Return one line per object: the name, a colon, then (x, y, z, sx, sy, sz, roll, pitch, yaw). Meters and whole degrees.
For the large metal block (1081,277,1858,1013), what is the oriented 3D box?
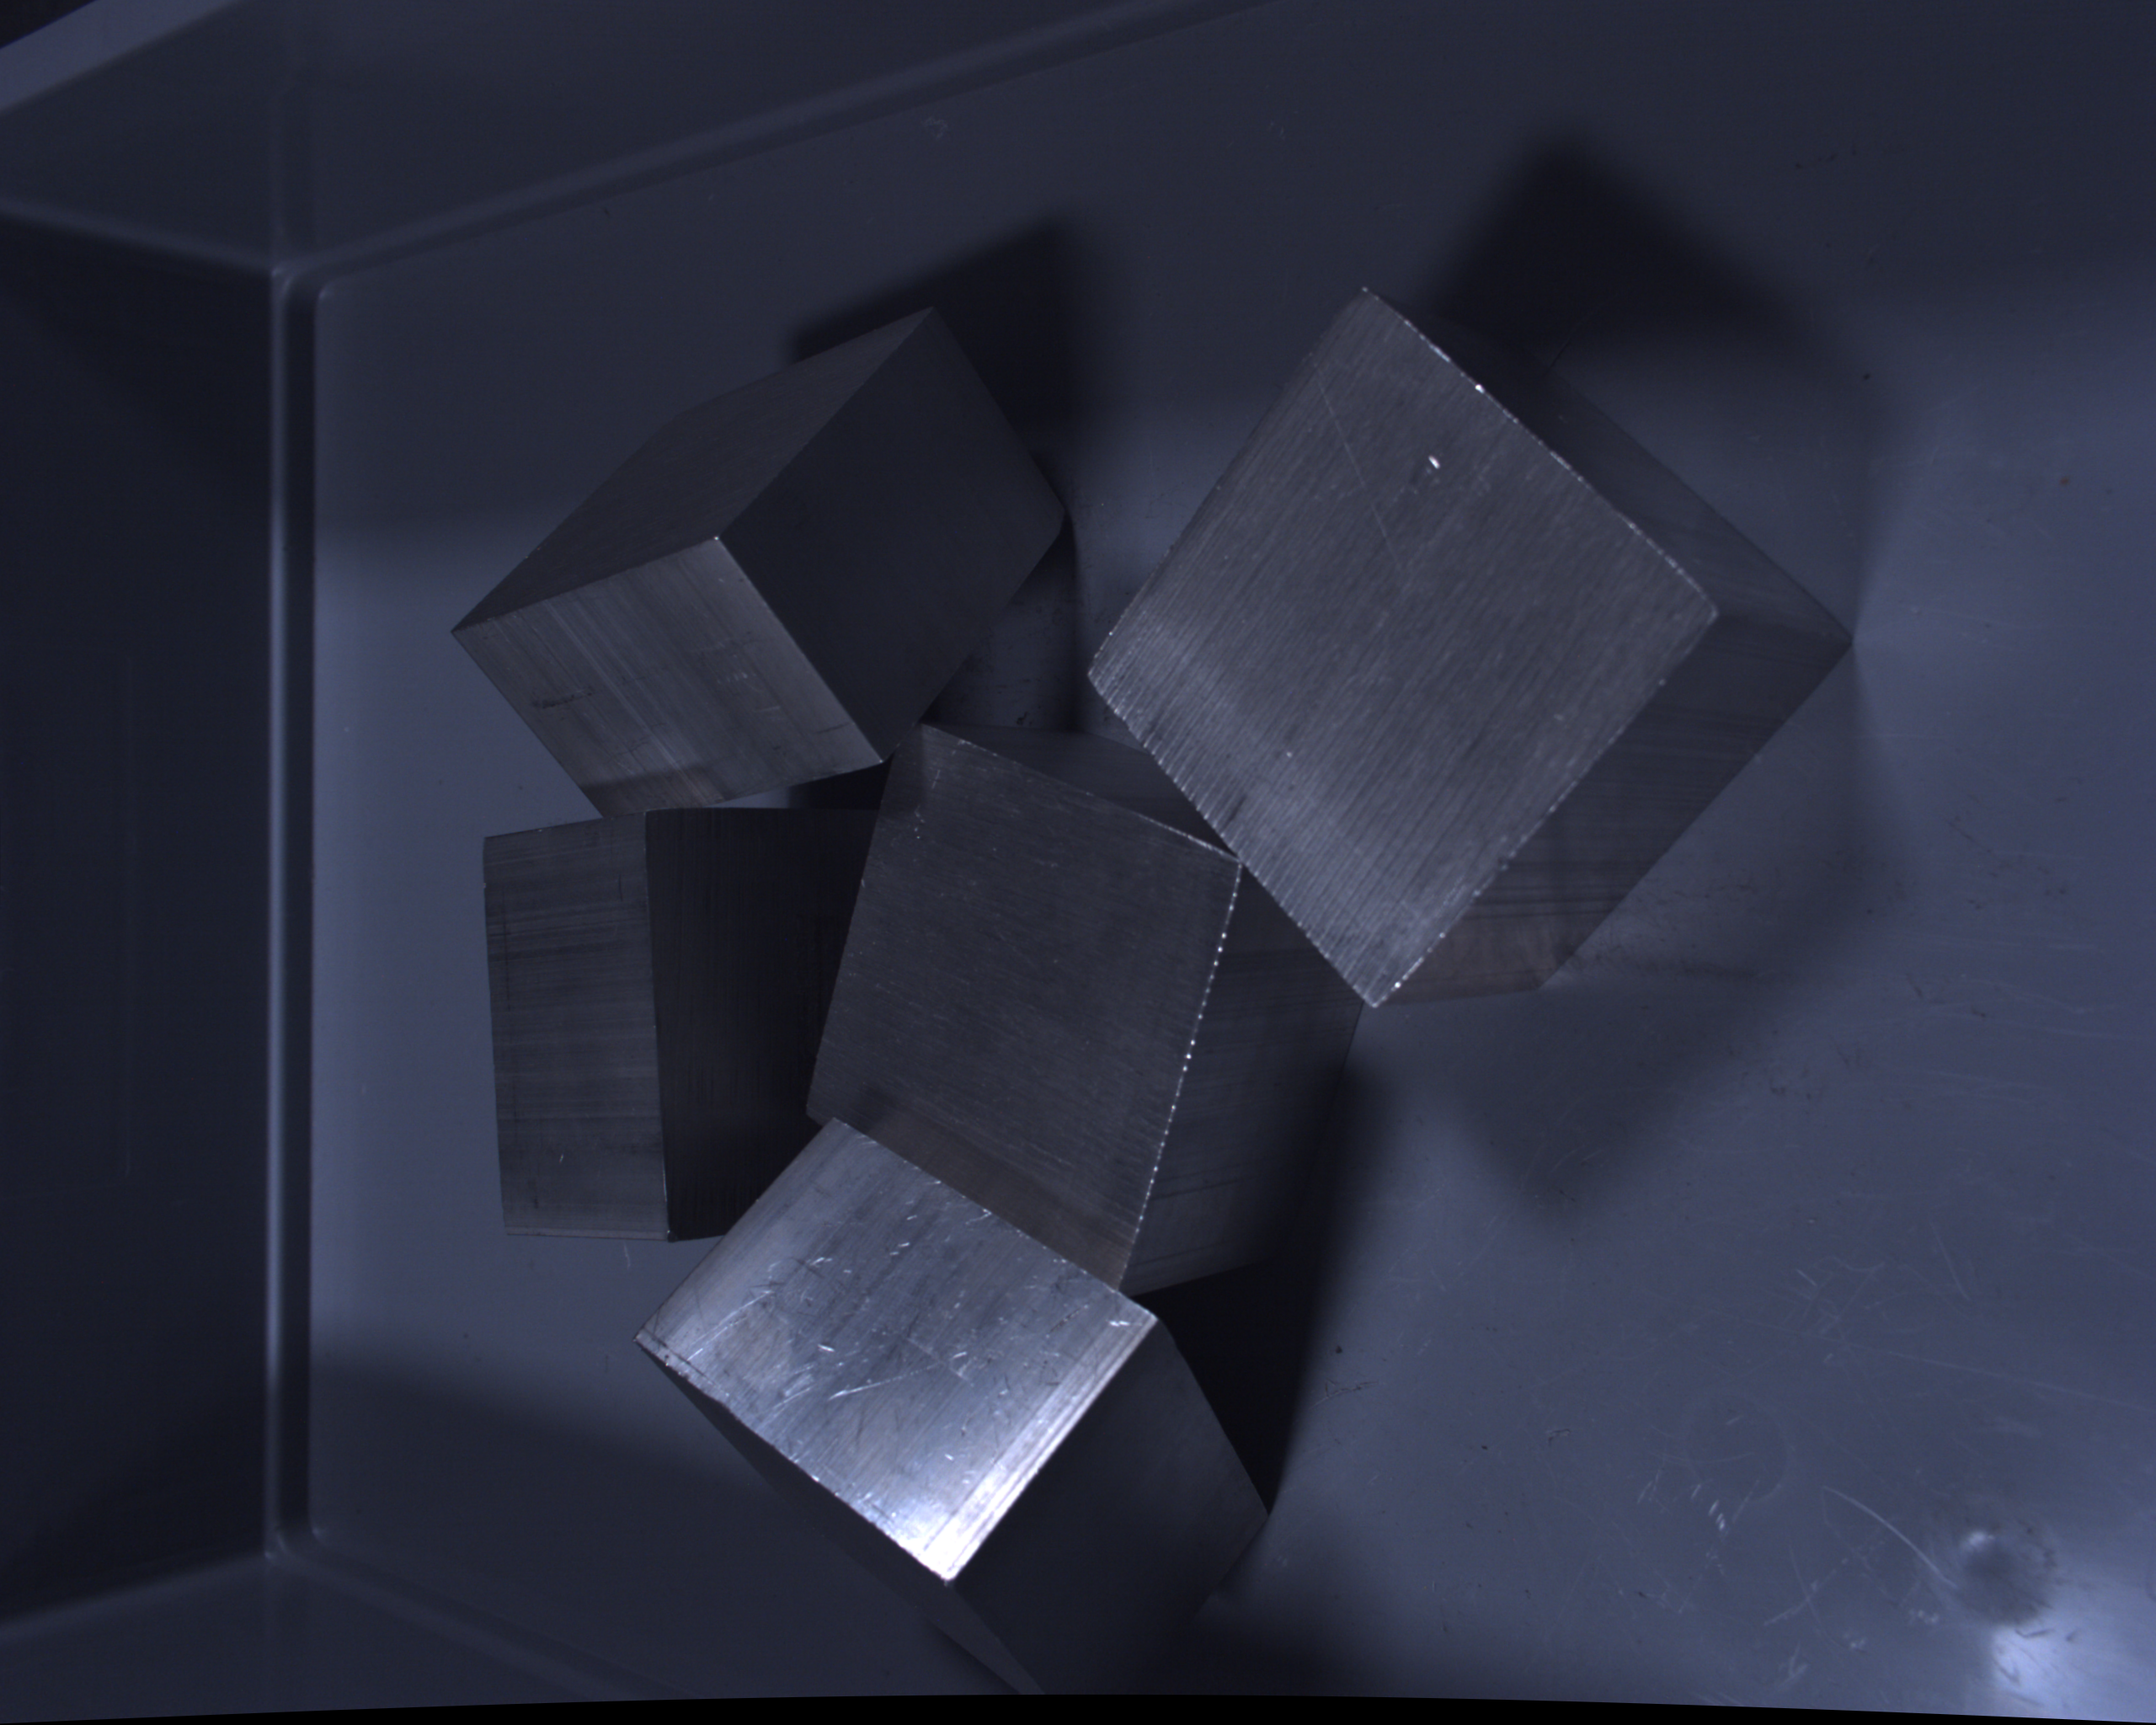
large metal block: (0.060, -0.033, 0.337, 0.080, 0.050, 0.080, 51, 120, 27)

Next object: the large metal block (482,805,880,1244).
large metal block: (-0.070, 0.031, 0.425, 0.050, 0.081, 0.080, -7, 86, 39)

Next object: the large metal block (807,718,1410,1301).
large metal block: (0.004, 0.024, 0.385, 0.080, 0.050, 0.079, 24, 105, 37)

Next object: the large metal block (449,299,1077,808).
large metal block: (-0.060, -0.058, 0.409, 0.080, 0.080, 0.050, -10, 126, 40)

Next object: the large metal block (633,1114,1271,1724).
large metal block: (-0.020, 0.102, 0.376, 0.080, 0.080, 0.050, 25, 63, 35)
